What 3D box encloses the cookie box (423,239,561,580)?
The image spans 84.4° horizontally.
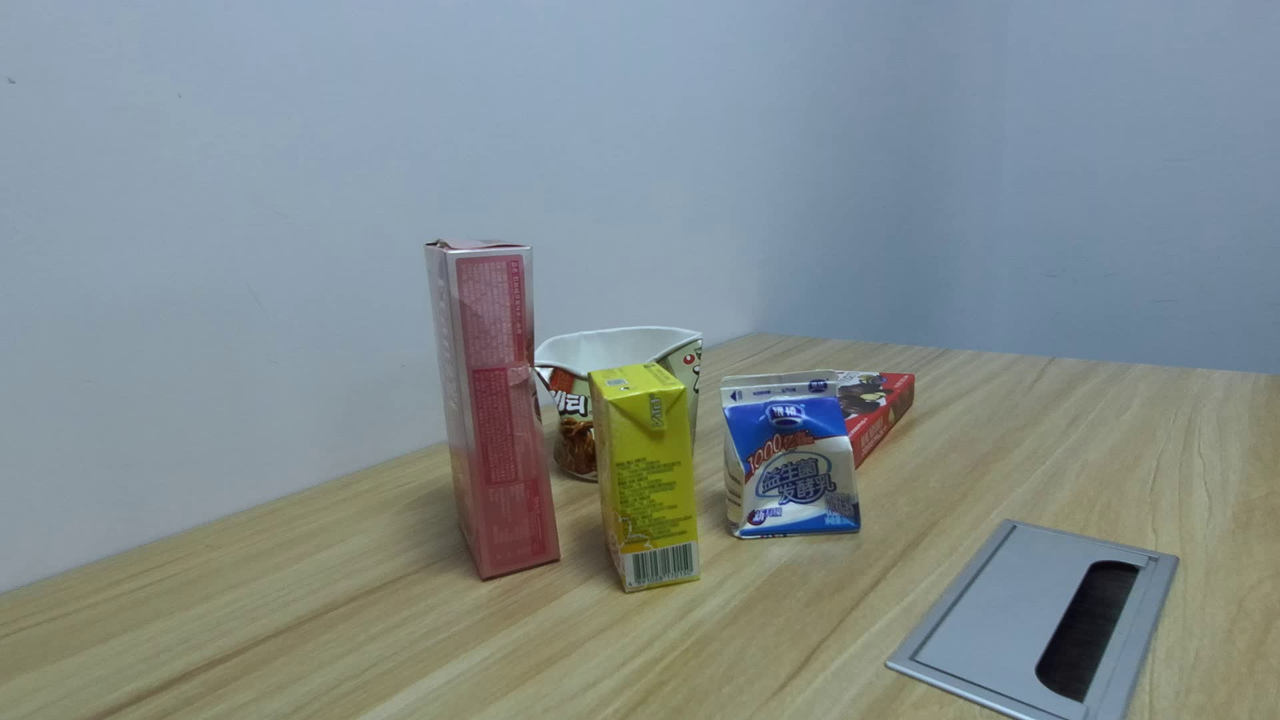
[{"bbox_3d":[-0.088,0.022,0.419,0.049,0.187,0.105,-9,13,-21],"label":"cookie box"}]

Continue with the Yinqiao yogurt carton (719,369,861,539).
[{"bbox_3d":[0.088,0.051,0.430,0.077,0.094,0.071,-5,18,4],"label":"Yinqiao yogurt carton"}]

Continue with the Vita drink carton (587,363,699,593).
[{"bbox_3d":[0.001,0.062,0.389,0.044,0.109,0.066,-7,13,-13],"label":"Vita drink carton"}]
